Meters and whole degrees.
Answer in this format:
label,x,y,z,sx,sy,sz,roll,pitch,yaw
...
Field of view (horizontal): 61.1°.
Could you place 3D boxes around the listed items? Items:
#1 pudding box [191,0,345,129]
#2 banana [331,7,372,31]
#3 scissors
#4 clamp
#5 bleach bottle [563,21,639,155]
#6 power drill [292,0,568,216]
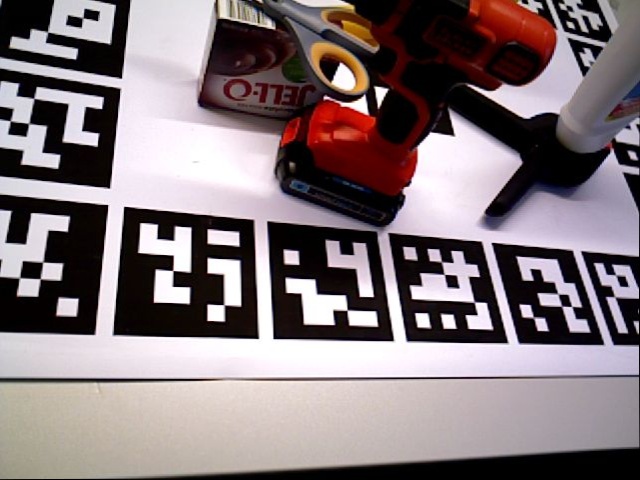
label,x,y,z,sx,sy,sz,roll,pitch,yaw
pudding box,-0.046,-0.149,0.464,0.112,0.092,0.038,9,53,-18
banana,0.057,-0.262,0.591,0.074,0.040,0.193,38,55,22
scissors,-0.033,-0.187,0.411,0.202,0.016,0.086,30,60,-11
clamp,0.244,-0.100,0.570,0.200,0.037,0.164,-1,66,-24
bleach bottle,0.311,-0.161,0.501,0.101,0.256,0.067,-16,65,-21
power drill,0.043,-0.106,0.383,0.183,0.192,0.056,16,51,-10
